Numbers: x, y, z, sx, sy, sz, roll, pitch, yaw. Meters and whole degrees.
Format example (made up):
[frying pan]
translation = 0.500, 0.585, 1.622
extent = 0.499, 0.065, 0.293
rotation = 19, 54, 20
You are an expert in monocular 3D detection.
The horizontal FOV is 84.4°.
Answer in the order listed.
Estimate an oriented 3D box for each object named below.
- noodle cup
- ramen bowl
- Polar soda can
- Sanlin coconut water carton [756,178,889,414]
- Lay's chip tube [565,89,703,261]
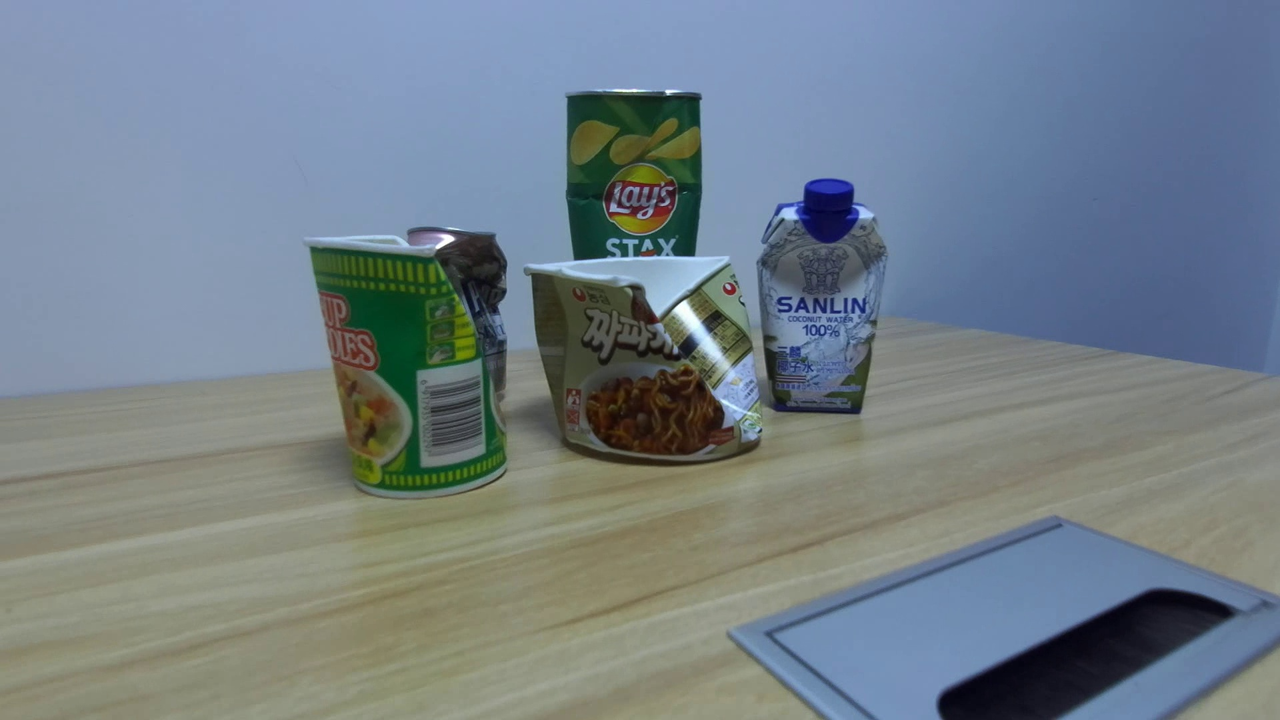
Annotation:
[noodle cup]
translation = -0.109, 0.004, 0.348
extent = 0.075, 0.122, 0.083
rotation = -8, 14, 10
[ramen bowl]
translation = 0.007, -0.007, 0.390
extent = 0.137, 0.098, 0.137
rotation = 1, 10, 0
[Polar soda can]
translation = -0.120, -0.029, 0.452
extent = 0.070, 0.114, 0.074
rotation = 2, 15, -17
[Sanlin coconut water carton]
translation = 0.111, -0.039, 0.438
extent = 0.078, 0.142, 0.058
rotation = 1, 16, 5
[Lay's chip tube]
translation = -0.003, -0.083, 0.498
extent = 0.068, 0.199, 0.075
rotation = 9, 15, 40
